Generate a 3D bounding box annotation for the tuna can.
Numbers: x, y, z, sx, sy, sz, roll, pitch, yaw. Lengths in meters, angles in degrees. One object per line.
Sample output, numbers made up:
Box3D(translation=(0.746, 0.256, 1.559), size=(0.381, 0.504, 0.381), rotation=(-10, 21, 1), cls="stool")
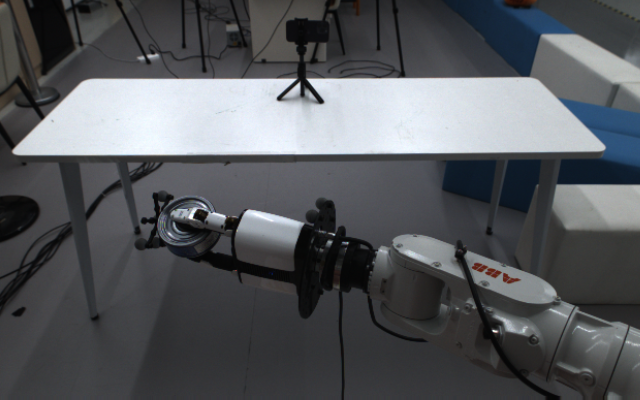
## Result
Box3D(translation=(-0.182, 0.040, 0.682), size=(0.085, 0.034, 0.085), rotation=(-2, 59, 3), cls="tuna can")
